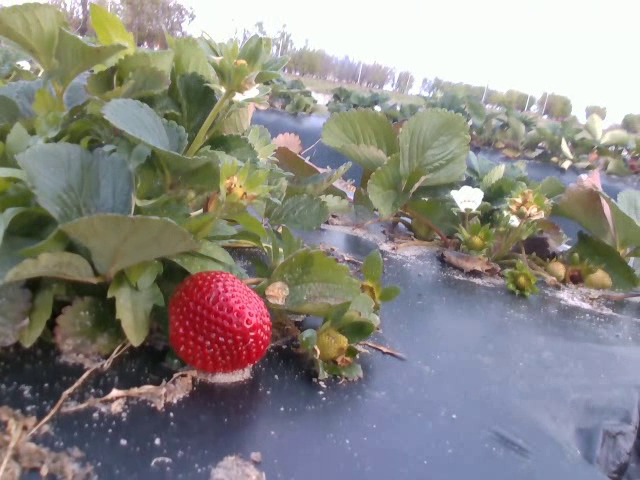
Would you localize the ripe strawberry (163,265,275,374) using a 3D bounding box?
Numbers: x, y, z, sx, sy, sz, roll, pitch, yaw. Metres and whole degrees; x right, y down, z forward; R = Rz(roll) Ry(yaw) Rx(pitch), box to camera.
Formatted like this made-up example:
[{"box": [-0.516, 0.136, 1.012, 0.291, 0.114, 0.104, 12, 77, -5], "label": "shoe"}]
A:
[{"box": [-0.037, 0.030, 0.234, 0.043, 0.047, 0.046, -30, 17, -30], "label": "ripe strawberry"}]
